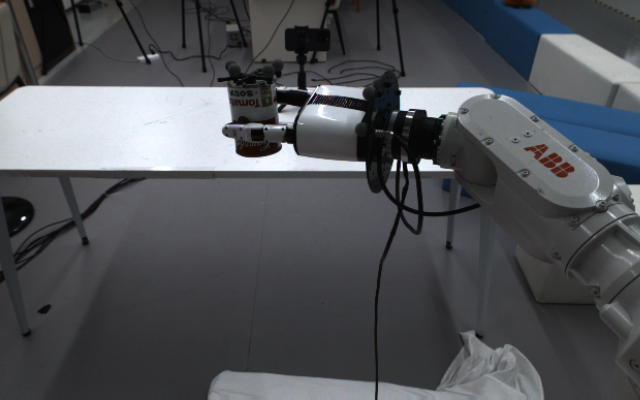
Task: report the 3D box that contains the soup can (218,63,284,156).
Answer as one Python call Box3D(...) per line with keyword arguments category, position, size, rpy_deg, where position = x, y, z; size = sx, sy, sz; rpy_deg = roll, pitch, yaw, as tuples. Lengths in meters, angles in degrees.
Box3D(category="soup can", position=(-0.092, -0.119, 0.687), size=(0.067, 0.101, 0.067), rpy_deg=(-3, 26, 2))
